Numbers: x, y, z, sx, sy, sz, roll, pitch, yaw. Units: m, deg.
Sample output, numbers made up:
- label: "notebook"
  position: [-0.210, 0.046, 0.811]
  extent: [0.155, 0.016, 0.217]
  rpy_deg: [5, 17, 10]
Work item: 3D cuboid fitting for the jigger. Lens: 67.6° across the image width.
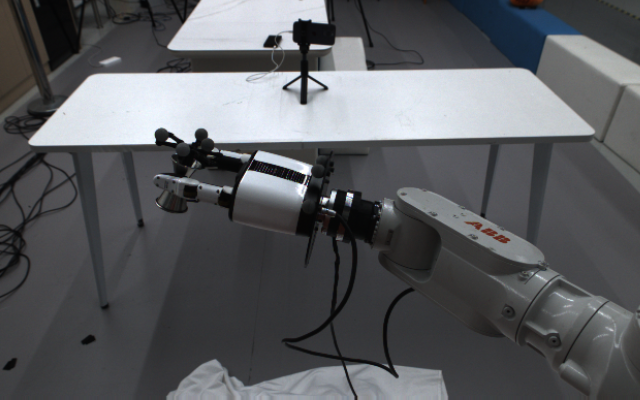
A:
- label: "jigger"
  position: [-0.187, -0.022, 0.639]
  extent: [0.043, 0.071, 0.043]
  rpy_deg: [22, 20, -8]
